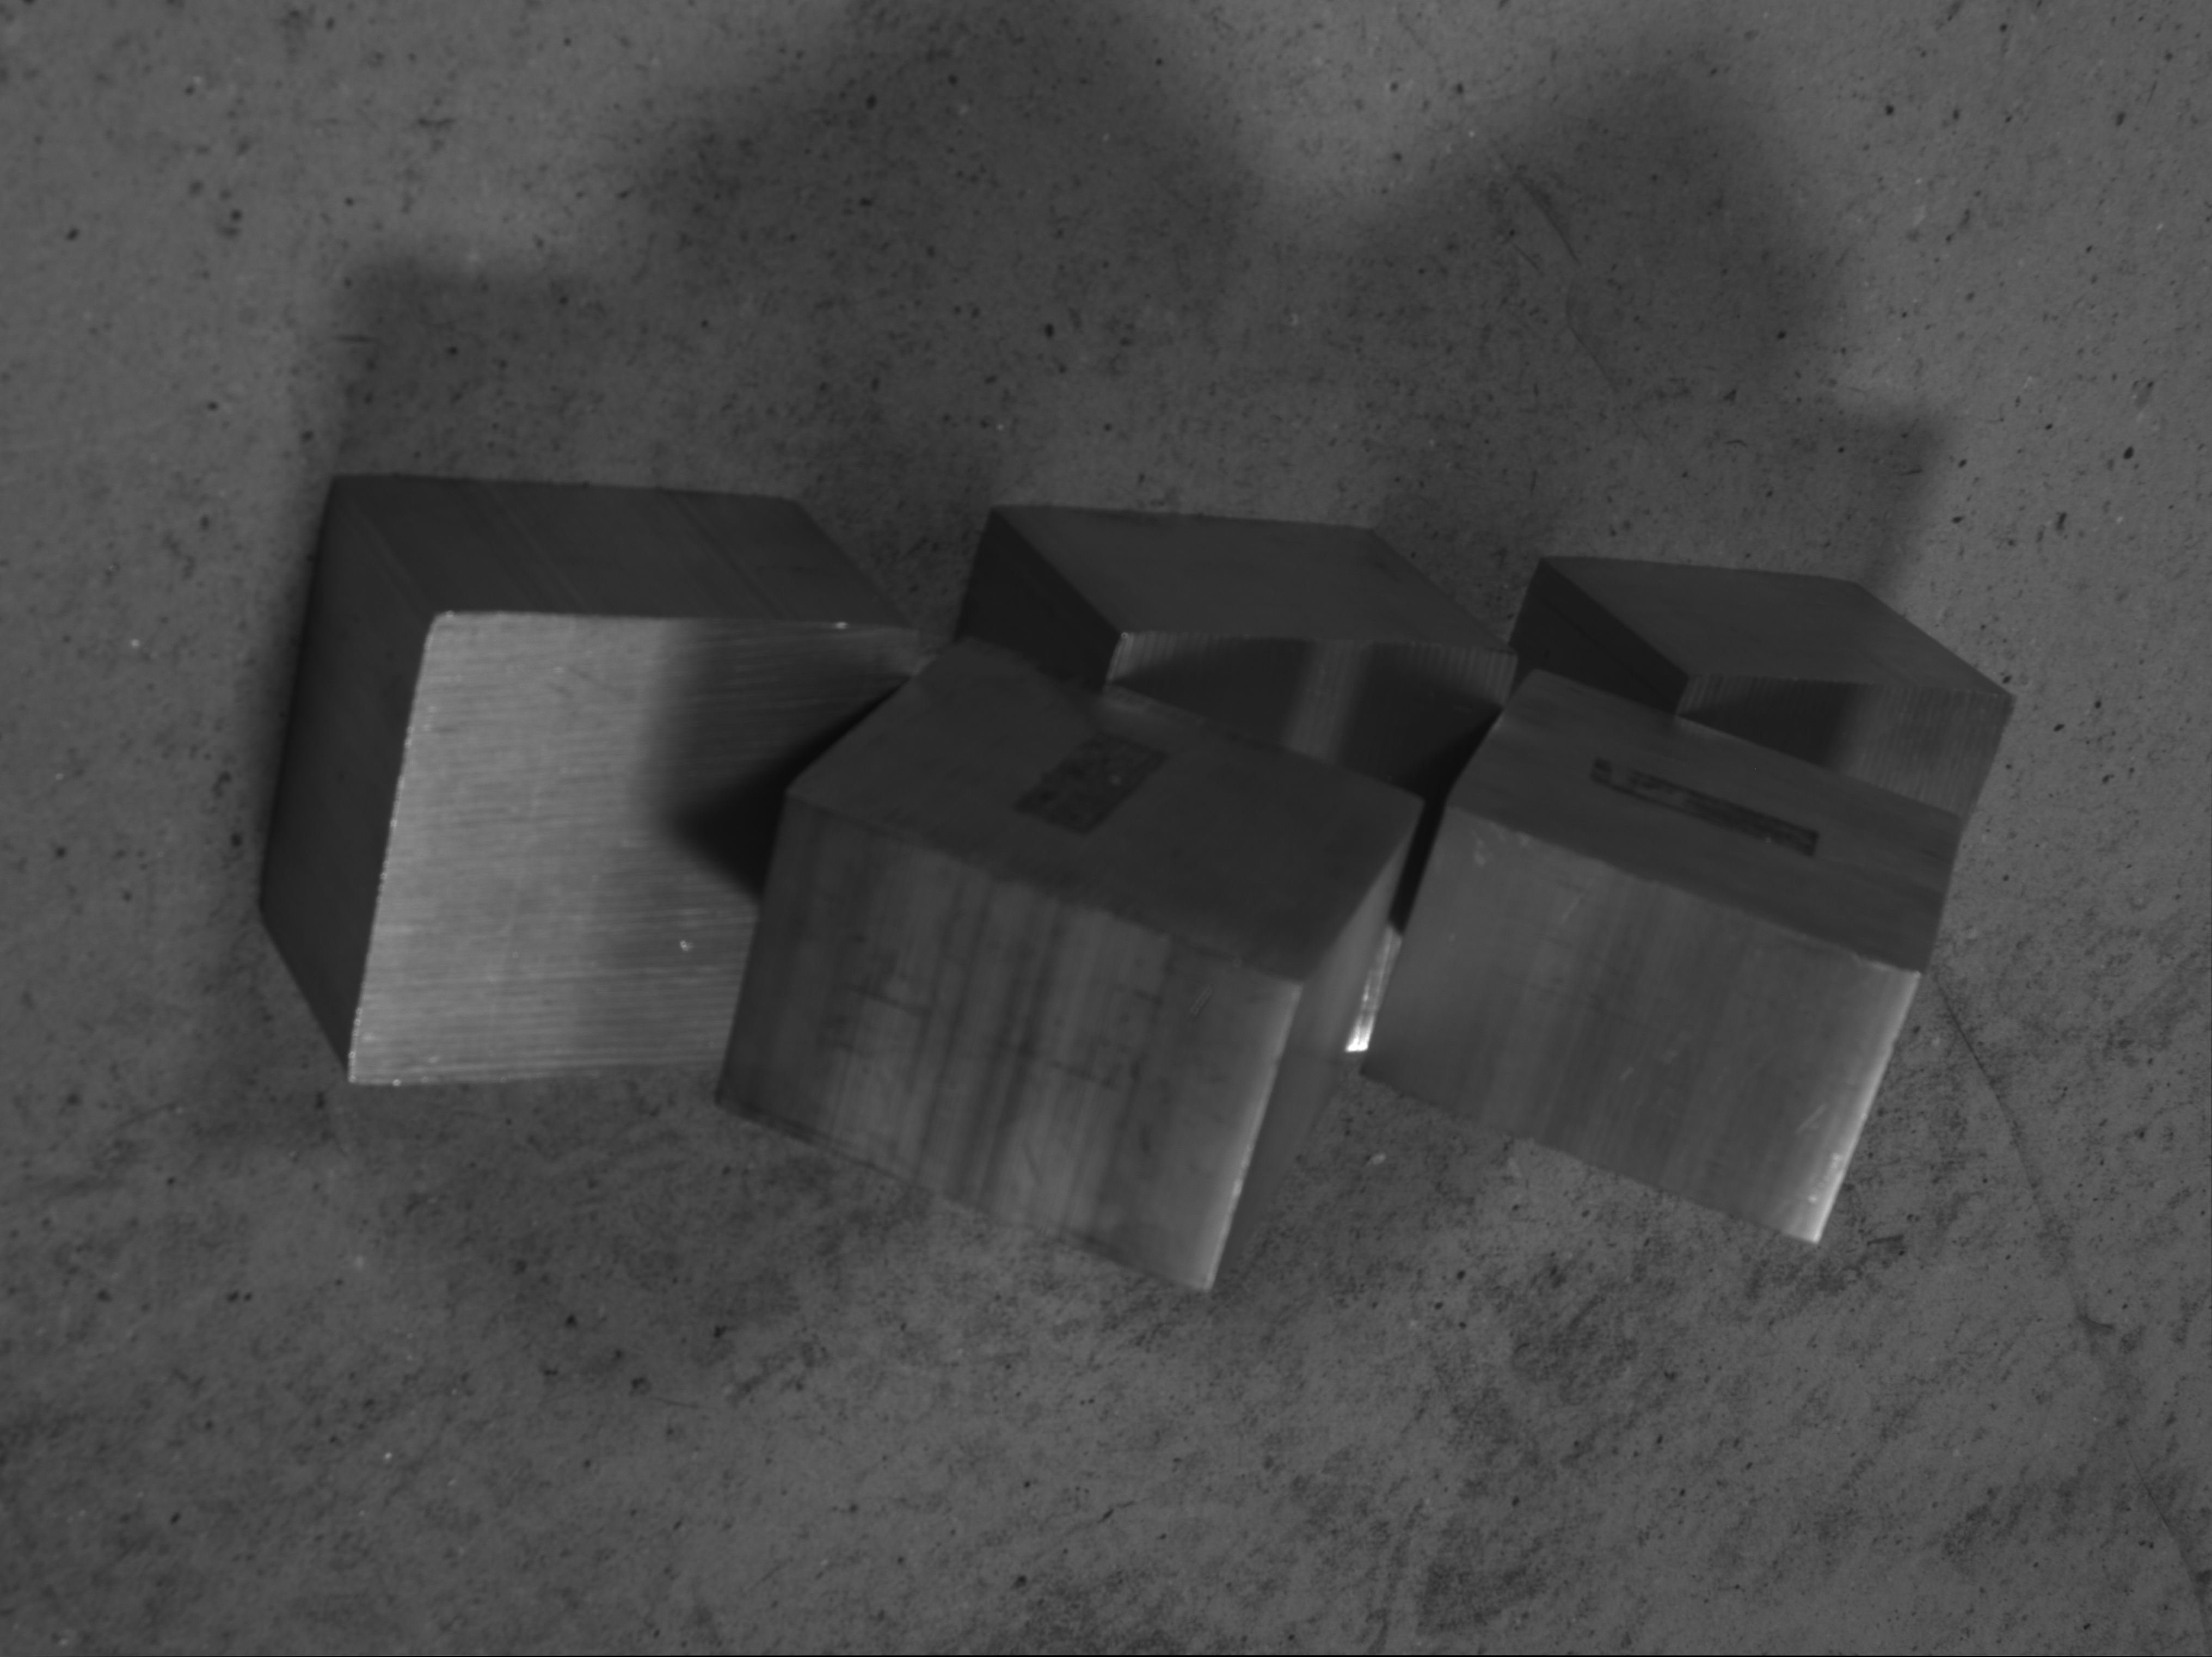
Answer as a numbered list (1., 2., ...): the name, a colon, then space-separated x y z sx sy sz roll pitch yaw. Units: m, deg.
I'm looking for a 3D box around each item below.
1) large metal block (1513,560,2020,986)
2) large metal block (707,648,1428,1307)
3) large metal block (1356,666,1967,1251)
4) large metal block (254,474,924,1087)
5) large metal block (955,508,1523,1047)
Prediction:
1. large metal block: 0.116 -0.002 0.701 0.080 0.050 0.080 2 117 -31
2. large metal block: -0.004 0.020 0.559 0.080 0.080 0.050 -49 156 -63
3. large metal block: 0.096 0.019 0.620 0.080 0.080 0.050 20 113 10
4. large metal block: -0.084 -0.007 0.582 0.080 0.050 0.080 0 118 -30
5. large metal block: 0.016 -0.007 0.640 0.080 0.050 0.080 1 118 -31
